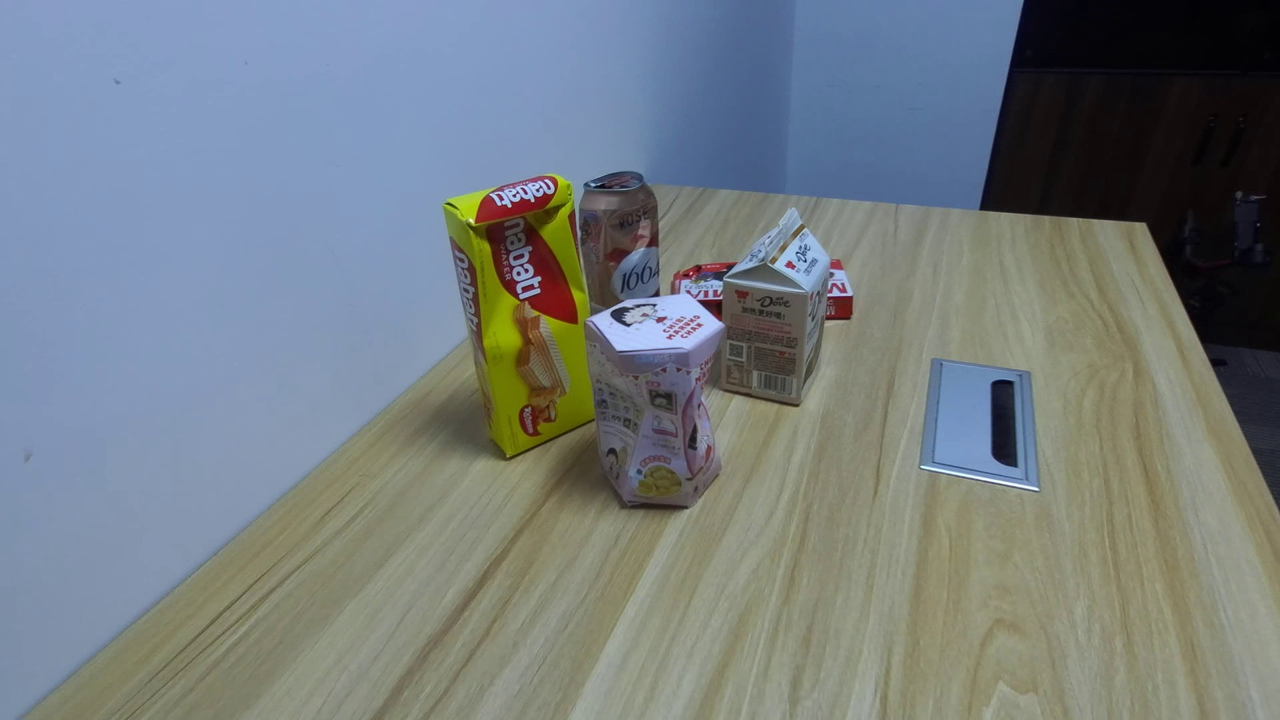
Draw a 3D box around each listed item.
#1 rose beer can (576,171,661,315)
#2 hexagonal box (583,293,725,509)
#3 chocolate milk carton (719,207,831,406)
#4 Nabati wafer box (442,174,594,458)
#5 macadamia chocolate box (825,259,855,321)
[{"bbox_3d":[-0.017,-0.087,0.658,0.076,0.167,0.065,-24,37,-26],"label":"rose beer can"},{"bbox_3d":[0.012,0.032,0.496,0.093,0.135,0.088,-3,32,0],"label":"hexagonal box"},{"bbox_3d":[0.115,-0.048,0.595,0.074,0.148,0.075,12,34,23],"label":"chocolate milk carton"},{"bbox_3d":[-0.083,-0.029,0.544,0.097,0.203,0.042,-20,33,-28],"label":"Nabati wafer box"},{"bbox_3d":[0.128,-0.077,0.766,0.186,0.027,0.102,-1,31,5],"label":"macadamia chocolate box"}]
